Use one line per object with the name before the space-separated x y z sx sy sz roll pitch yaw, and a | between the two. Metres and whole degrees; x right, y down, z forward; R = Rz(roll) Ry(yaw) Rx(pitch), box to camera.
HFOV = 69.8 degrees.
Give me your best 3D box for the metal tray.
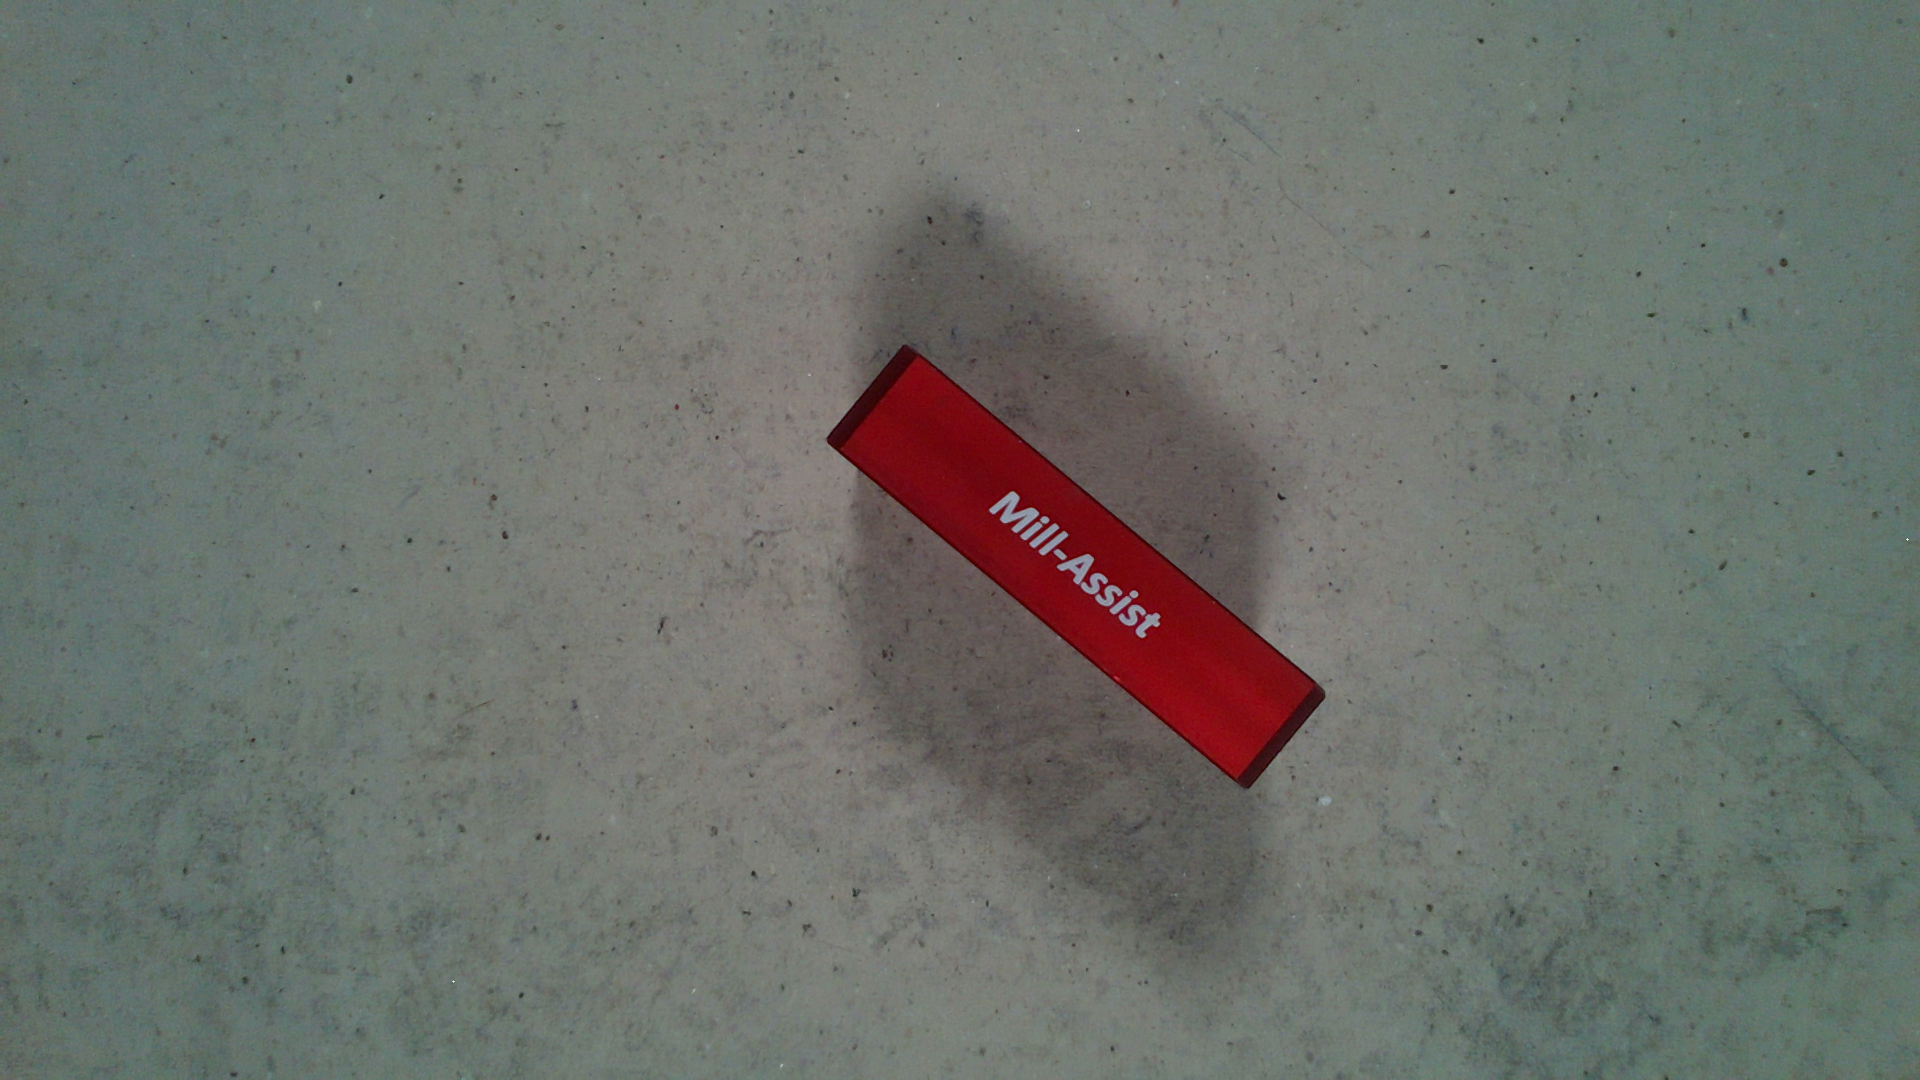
metal tray | 0.028 0.006 0.363 0.130 0.090 0.030 40 90 0
